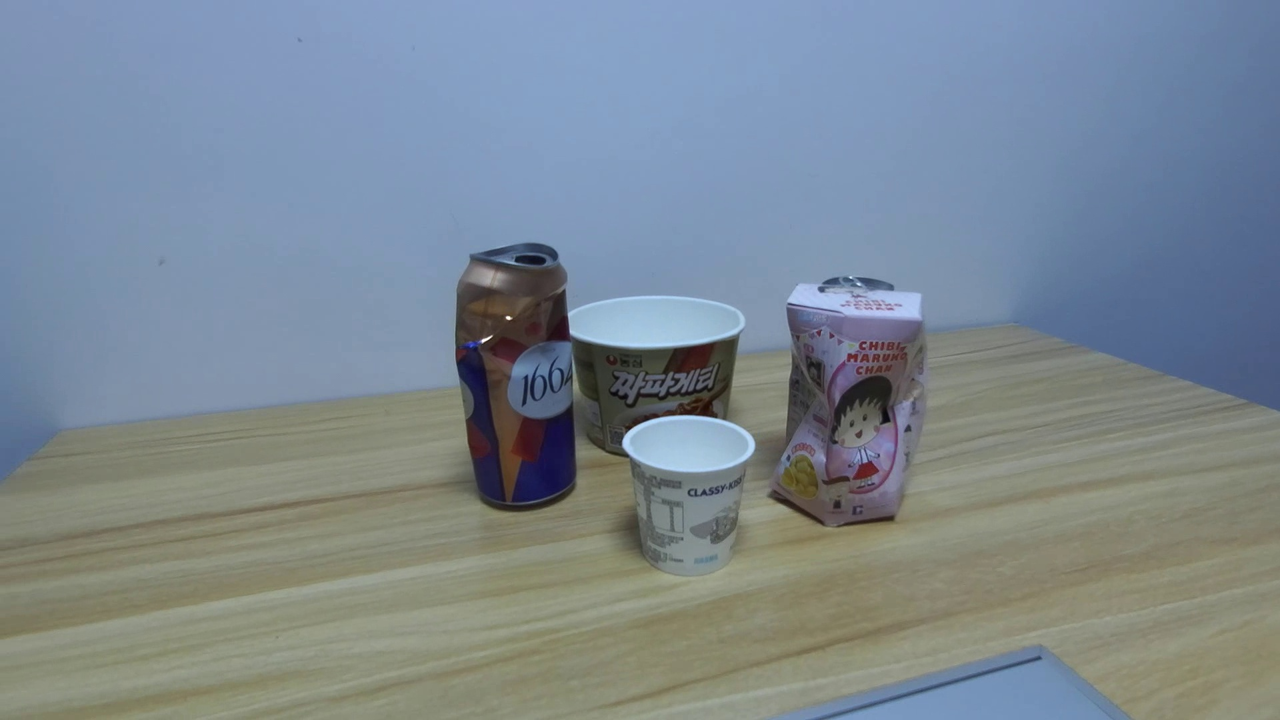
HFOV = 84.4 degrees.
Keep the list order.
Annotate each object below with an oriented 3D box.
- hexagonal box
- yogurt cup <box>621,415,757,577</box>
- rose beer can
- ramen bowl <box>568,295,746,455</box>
[{"bbox_3d":[0.125,0.026,0.440,0.089,0.134,0.093,-17,25,-42],"label":"hexagonal box"},{"bbox_3d":[0.027,0.076,0.394,0.072,0.068,0.072,-1,19,1],"label":"yogurt cup"},{"bbox_3d":[-0.077,0.011,0.454,0.068,0.162,0.073,-2,20,-5],"label":"rose beer can"},{"bbox_3d":[0.011,0.012,0.550,0.140,0.095,0.140,-1,18,1],"label":"ramen bowl"}]
